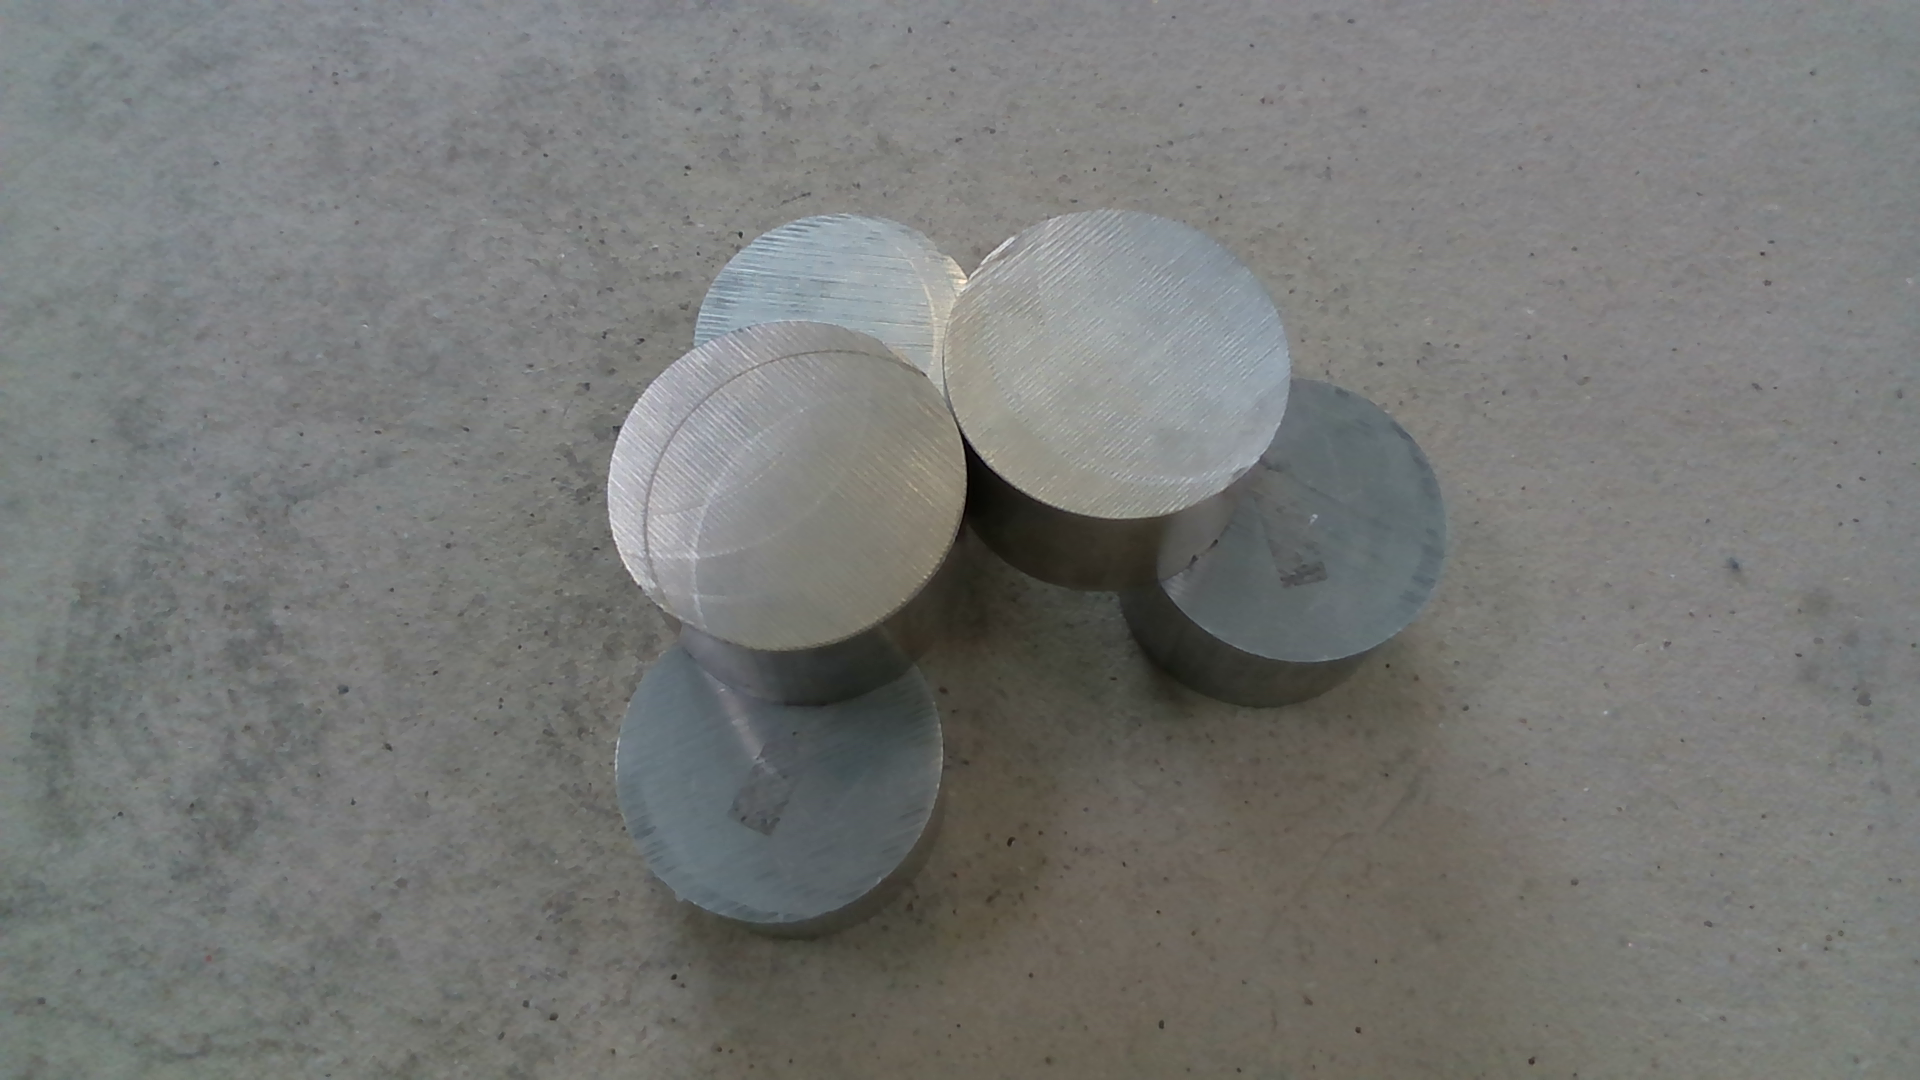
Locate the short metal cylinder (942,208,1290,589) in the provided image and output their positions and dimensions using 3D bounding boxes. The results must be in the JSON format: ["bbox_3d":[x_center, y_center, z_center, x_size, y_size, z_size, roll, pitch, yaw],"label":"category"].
[{"bbox_3d":[0.036,-0.034,0.340,0.080,0.050,0.080,0,70,0],"label":"short metal cylinder"}]

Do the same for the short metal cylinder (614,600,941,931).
[{"bbox_3d":[-0.045,0.061,0.361,0.080,0.050,0.080,0,70,0],"label":"short metal cylinder"}]

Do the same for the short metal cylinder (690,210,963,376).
[{"bbox_3d":[-0.034,-0.047,0.399,0.080,0.050,0.080,0,70,0],"label":"short metal cylinder"}]

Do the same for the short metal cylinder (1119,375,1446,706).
[{"bbox_3d":[0.086,0.001,0.382,0.080,0.050,0.080,0,70,0],"label":"short metal cylinder"}]

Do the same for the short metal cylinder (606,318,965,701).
[{"bbox_3d":[-0.039,-0.006,0.330,0.080,0.050,0.080,0,71,0],"label":"short metal cylinder"}]
